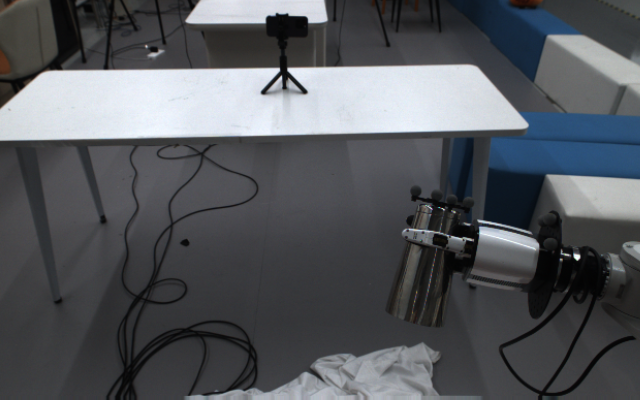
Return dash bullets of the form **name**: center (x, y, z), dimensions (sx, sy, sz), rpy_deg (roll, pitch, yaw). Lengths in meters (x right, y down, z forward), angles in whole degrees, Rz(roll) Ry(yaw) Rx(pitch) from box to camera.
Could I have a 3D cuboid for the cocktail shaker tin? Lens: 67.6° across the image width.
- **cocktail shaker tin**: center (0.166, 0.092, 0.739), dimensions (0.093, 0.170, 0.093), rpy_deg (13, 1, 0)
